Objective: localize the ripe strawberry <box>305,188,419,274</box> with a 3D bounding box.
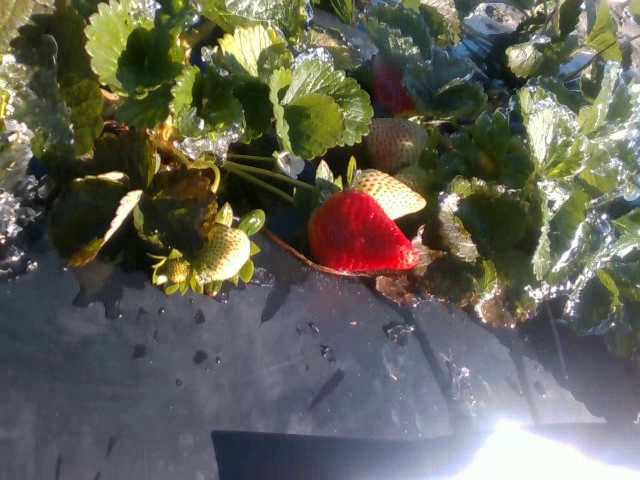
[{"bbox_3d":[0.020,0.000,0.242,0.040,0.042,0.053,-32,40,-30],"label":"ripe strawberry"}]
